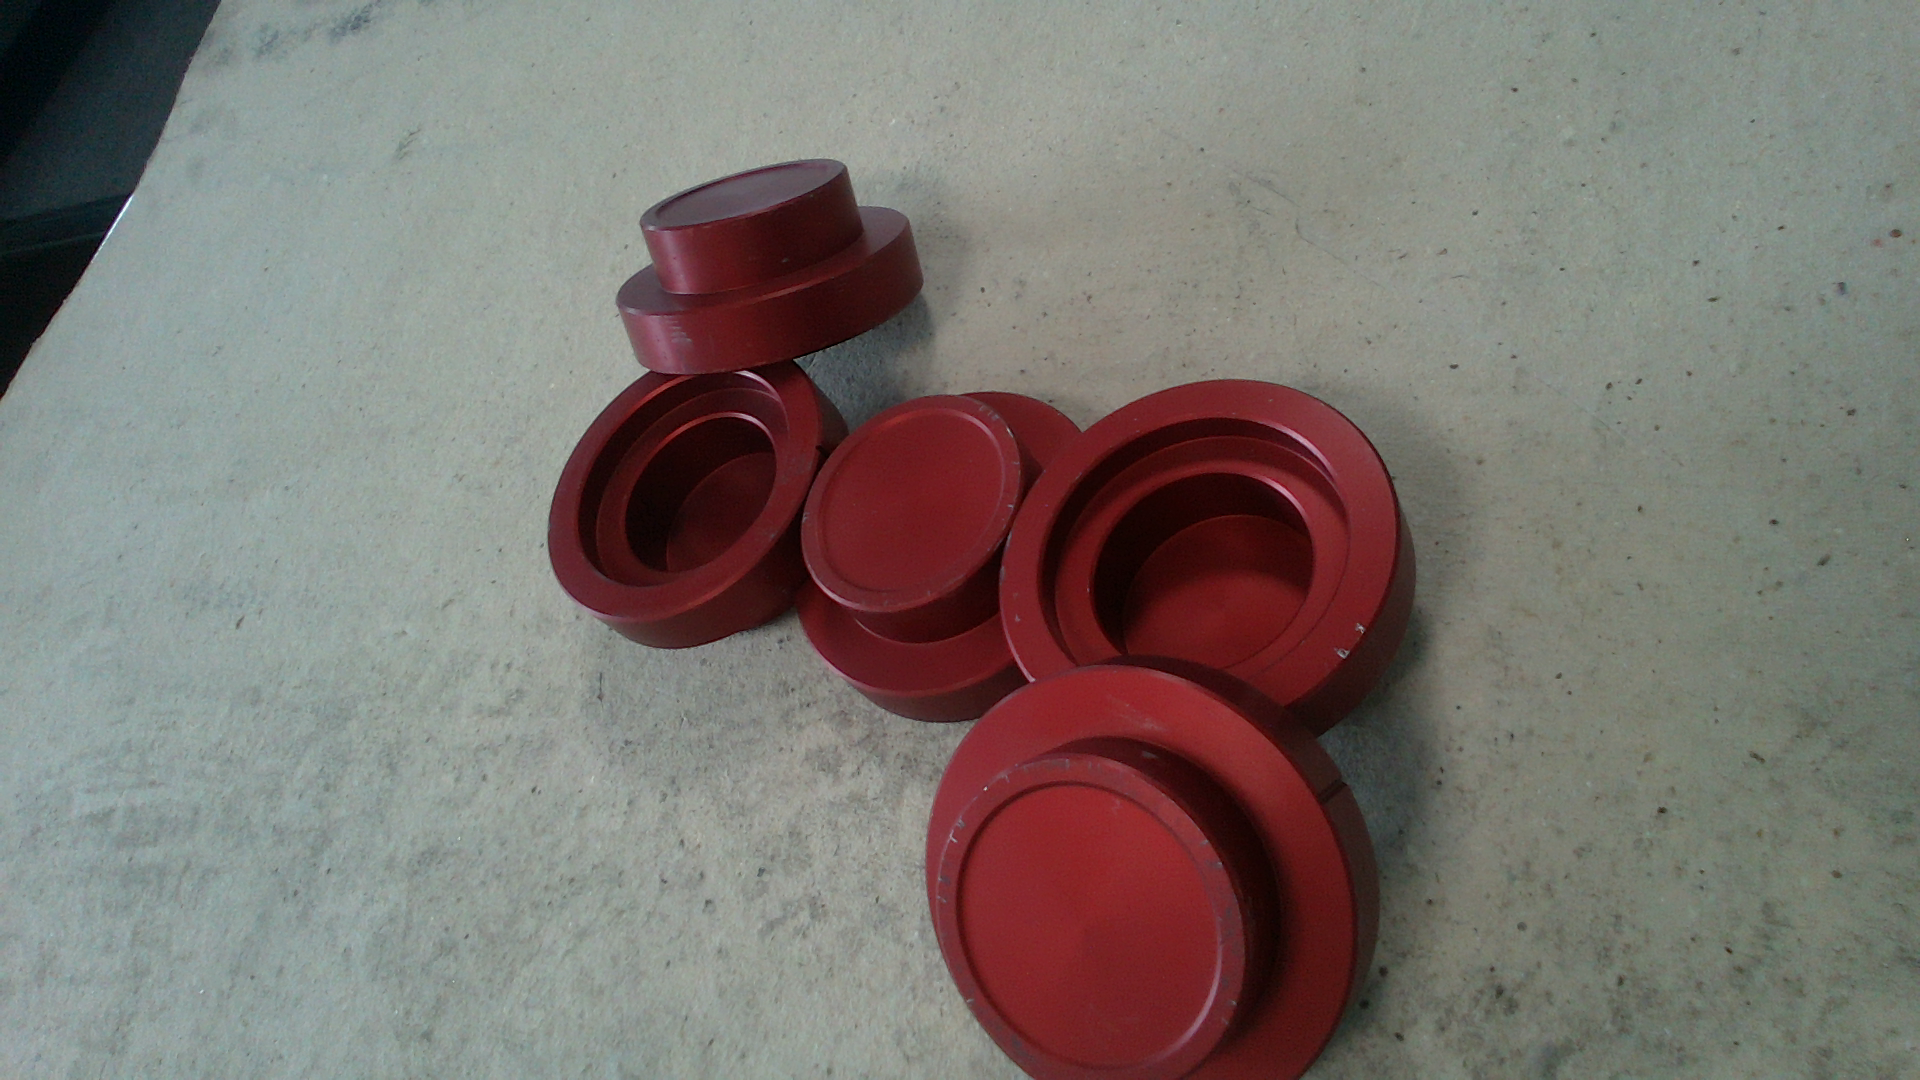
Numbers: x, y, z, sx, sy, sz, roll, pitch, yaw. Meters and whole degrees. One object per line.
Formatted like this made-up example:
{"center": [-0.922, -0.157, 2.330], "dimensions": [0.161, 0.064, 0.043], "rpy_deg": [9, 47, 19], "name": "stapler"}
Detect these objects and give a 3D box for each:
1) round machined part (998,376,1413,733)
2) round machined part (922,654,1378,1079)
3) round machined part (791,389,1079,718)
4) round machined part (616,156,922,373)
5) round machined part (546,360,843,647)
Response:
{"center": [0.062, 0.011, 0.341], "dimensions": [0.098, 0.042, 0.098], "rpy_deg": [-14, 56, 22], "name": "round machined part"}
{"center": [0.034, 0.075, 0.289], "dimensions": [0.098, 0.042, 0.098], "rpy_deg": [0, 91, 29], "name": "round machined part"}
{"center": [-0.006, -0.003, 0.386], "dimensions": [0.098, 0.042, 0.098], "rpy_deg": [-15, 53, 21], "name": "round machined part"}
{"center": [-0.064, -0.094, 0.447], "dimensions": [0.098, 0.042, 0.098], "rpy_deg": [-12, 27, 6], "name": "round machined part"}
{"center": [-0.077, -0.011, 0.430], "dimensions": [0.098, 0.042, 0.098], "rpy_deg": [-14, 56, 22], "name": "round machined part"}
